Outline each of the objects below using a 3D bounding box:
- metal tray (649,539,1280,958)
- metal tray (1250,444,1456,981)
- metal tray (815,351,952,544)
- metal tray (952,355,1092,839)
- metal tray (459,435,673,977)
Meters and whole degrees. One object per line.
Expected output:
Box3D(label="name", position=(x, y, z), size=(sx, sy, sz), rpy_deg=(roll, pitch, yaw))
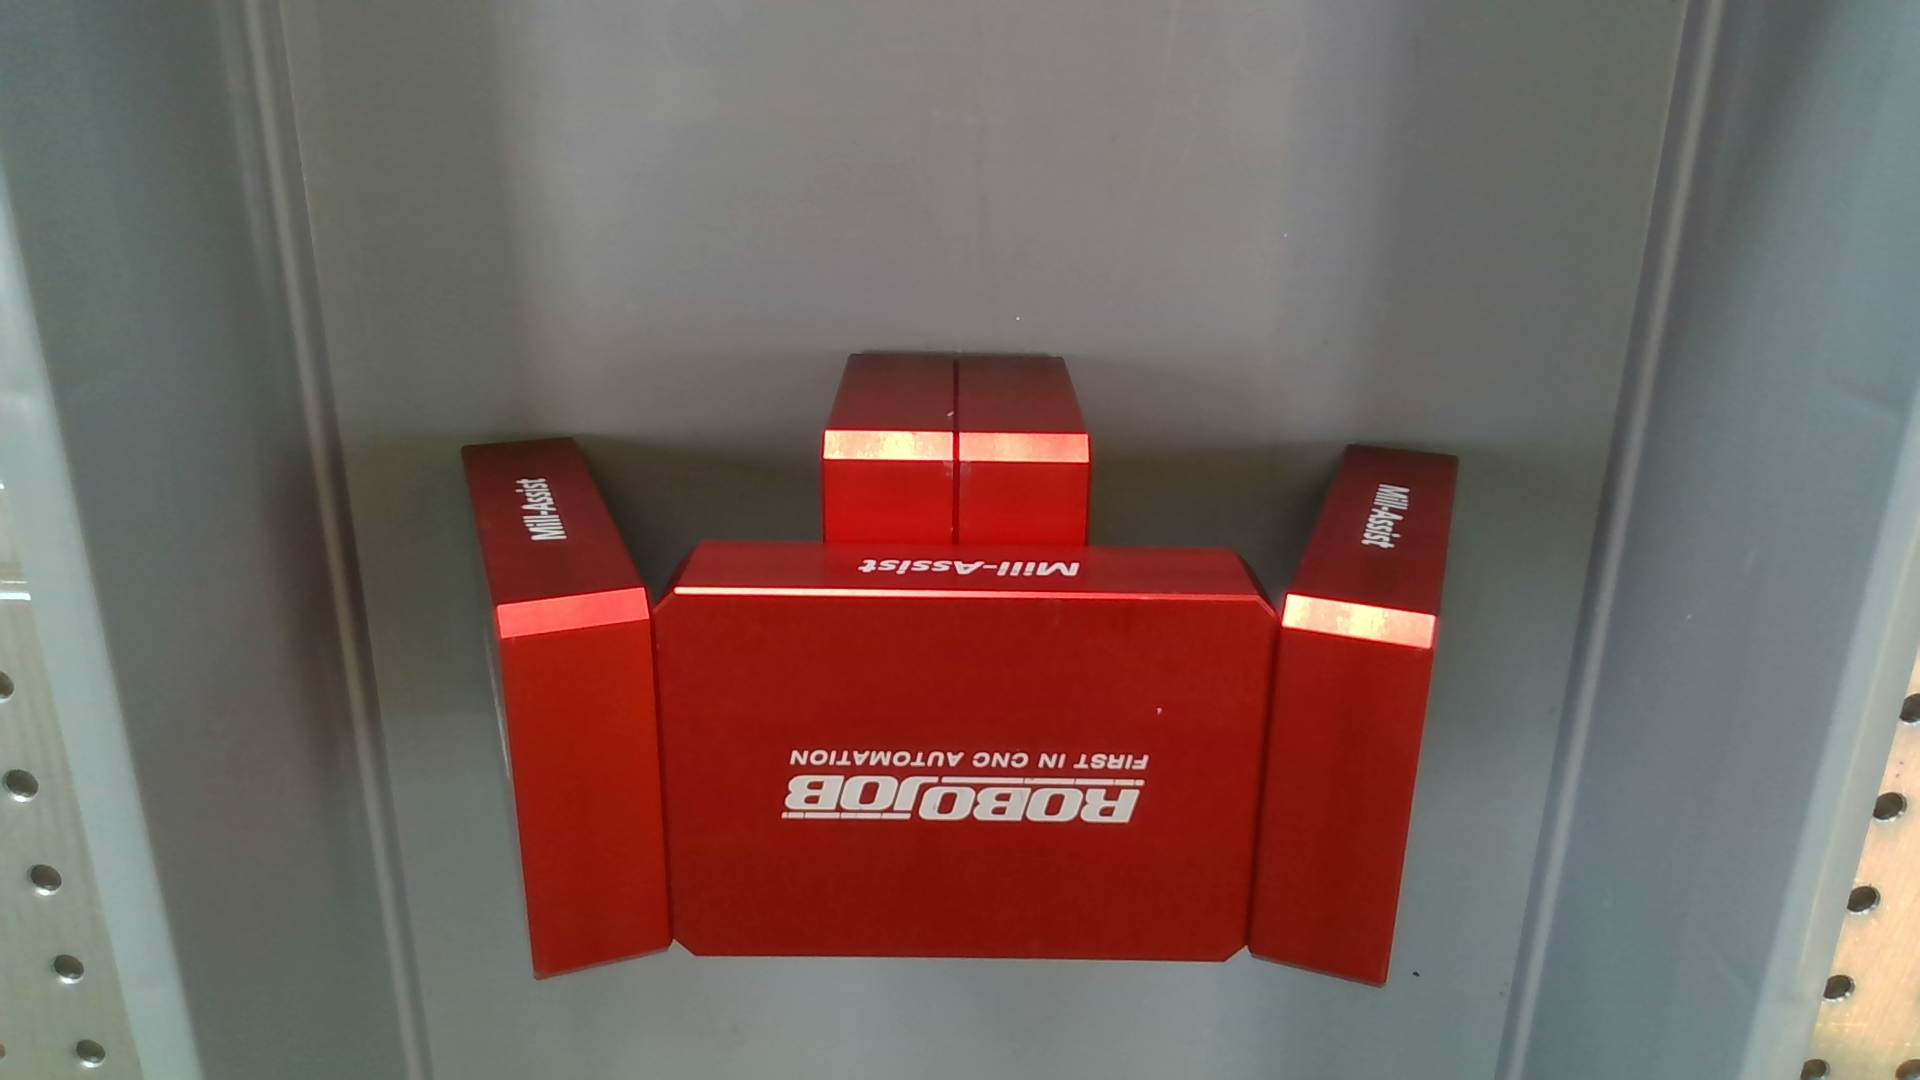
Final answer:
Box3D(label="metal tray", position=(0.000, 0.048, 0.311), size=(0.130, 0.030, 0.090), rpy_deg=(1, 111, 0))
Box3D(label="metal tray", position=(0.102, 0.036, 0.349), size=(0.030, 0.130, 0.090), rpy_deg=(8, 111, 19))
Box3D(label="metal tray", position=(-0.018, 0.022, 0.367), size=(0.030, 0.090, 0.130), rpy_deg=(1, 110, 0))
Box3D(label="metal tray", position=(0.014, 0.023, 0.367), size=(0.030, 0.090, 0.130), rpy_deg=(1, 110, 0))
Box3D(label="metal tray", position=(-0.102, 0.034, 0.348), size=(0.030, 0.130, 0.090), rpy_deg=(-8, 112, -20))
